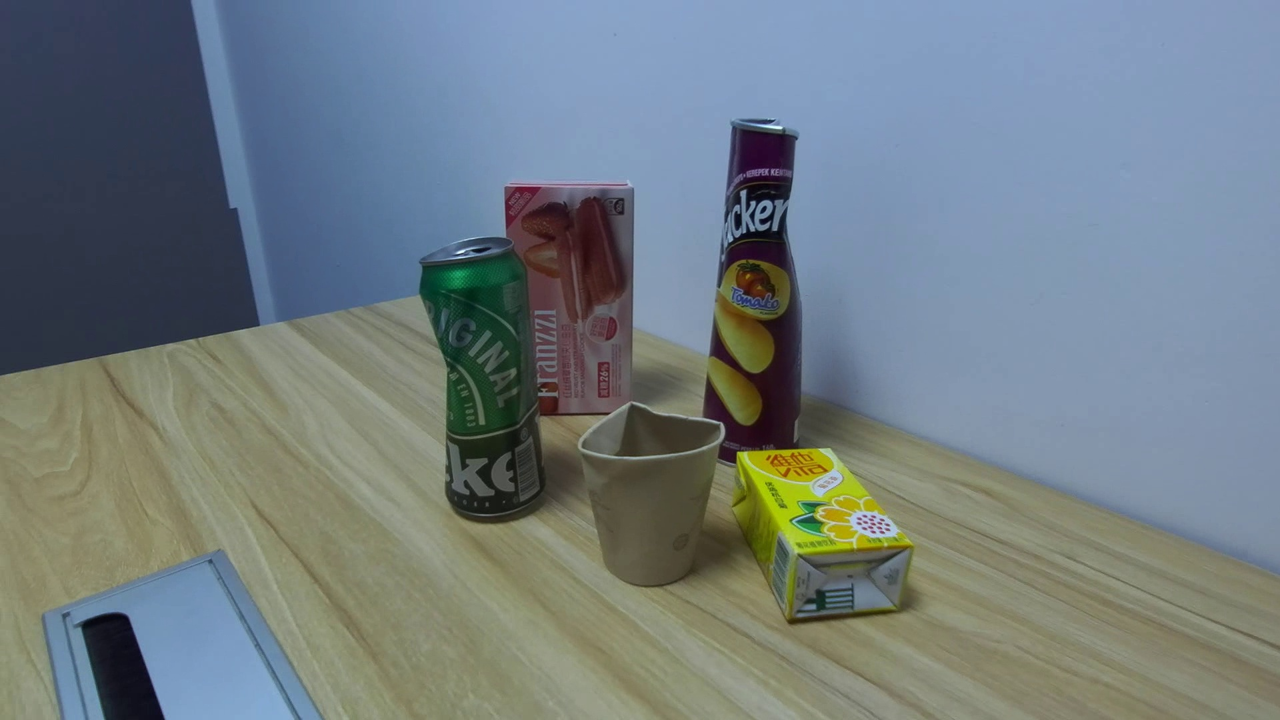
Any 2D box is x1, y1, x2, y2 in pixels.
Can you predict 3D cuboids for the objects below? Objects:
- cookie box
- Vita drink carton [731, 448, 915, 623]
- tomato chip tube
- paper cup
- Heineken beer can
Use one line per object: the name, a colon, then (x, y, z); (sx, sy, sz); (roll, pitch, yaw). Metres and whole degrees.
cookie box: (-0.052, -0.048, 0.567); (0.096, 0.184, 0.048); (0, 19, 0)
Vita drink carton: (0.099, 0.095, 0.408); (0.067, 0.043, 0.108); (-1, 20, -9)
tomato chip tube: (0.086, -0.043, 0.495); (0.078, 0.235, 0.076); (-15, 26, -38)
paper cup: (0.006, 0.077, 0.391); (0.071, 0.084, 0.066); (10, 23, 23)
Heineken beer can: (-0.097, 0.015, 0.440); (0.069, 0.168, 0.069); (-19, 25, -38)
